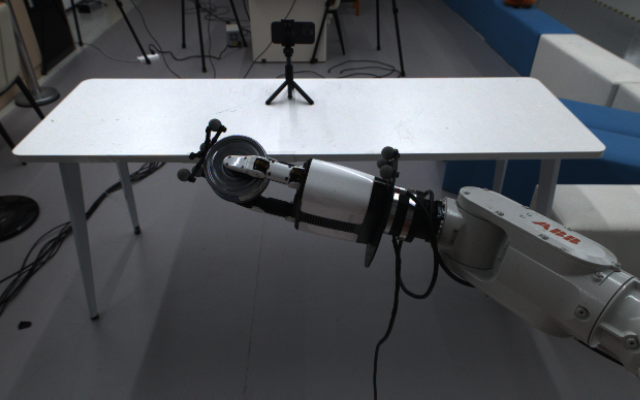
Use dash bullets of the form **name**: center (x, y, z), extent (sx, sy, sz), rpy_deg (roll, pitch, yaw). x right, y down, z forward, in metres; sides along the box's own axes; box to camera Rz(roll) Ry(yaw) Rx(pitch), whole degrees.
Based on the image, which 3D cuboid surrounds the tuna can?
- **tuna can**: center (-0.107, -0.043, 0.640), extent (0.085, 0.034, 0.085), rpy_deg (0, 75, -2)
